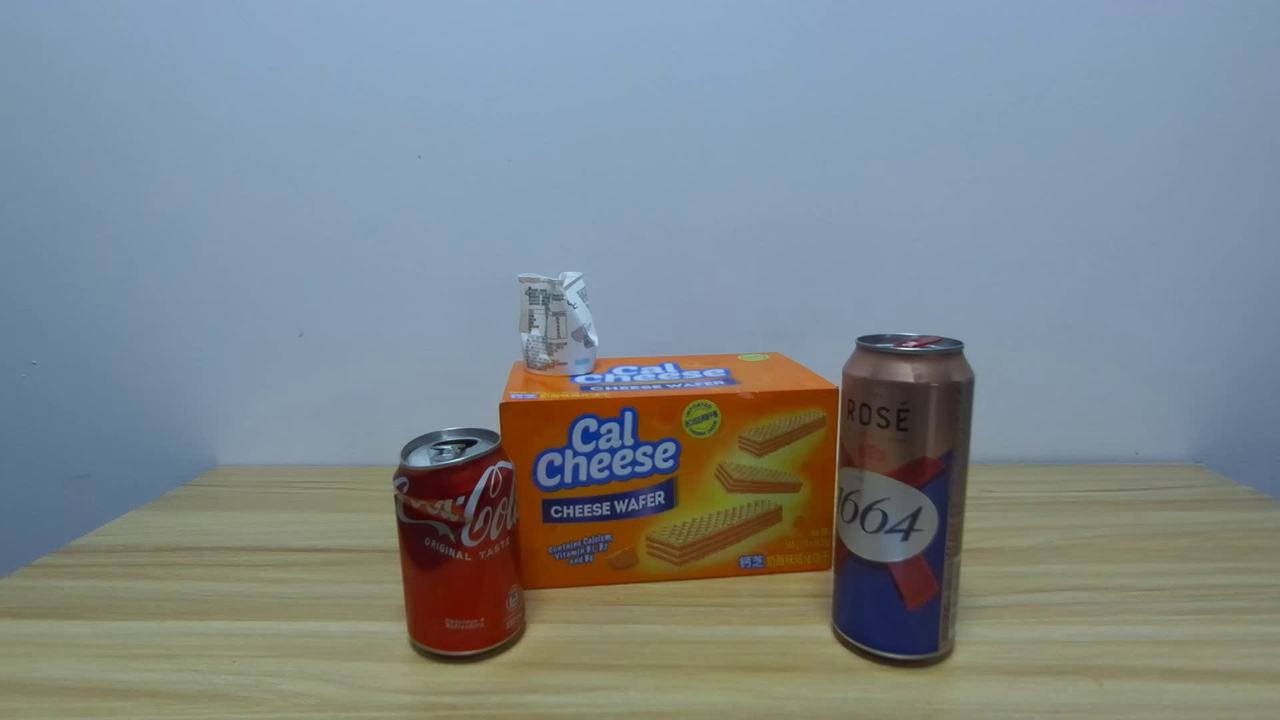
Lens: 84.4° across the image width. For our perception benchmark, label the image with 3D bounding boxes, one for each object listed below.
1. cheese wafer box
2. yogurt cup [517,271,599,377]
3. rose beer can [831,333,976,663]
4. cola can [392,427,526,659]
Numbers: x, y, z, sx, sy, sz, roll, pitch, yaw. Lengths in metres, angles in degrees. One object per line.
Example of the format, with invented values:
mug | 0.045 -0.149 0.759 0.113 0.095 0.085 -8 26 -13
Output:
cheese wafer box | 0.016 0.072 0.522 0.222 0.129 0.148 -2 11 -6
yogurt cup | -0.061 -0.028 0.525 0.055 0.072 0.055 10 15 40
rose beer can | 0.141 0.075 0.383 0.068 0.169 0.068 0 9 0
cola can | -0.098 0.101 0.395 0.066 0.117 0.072 -10 13 -44
